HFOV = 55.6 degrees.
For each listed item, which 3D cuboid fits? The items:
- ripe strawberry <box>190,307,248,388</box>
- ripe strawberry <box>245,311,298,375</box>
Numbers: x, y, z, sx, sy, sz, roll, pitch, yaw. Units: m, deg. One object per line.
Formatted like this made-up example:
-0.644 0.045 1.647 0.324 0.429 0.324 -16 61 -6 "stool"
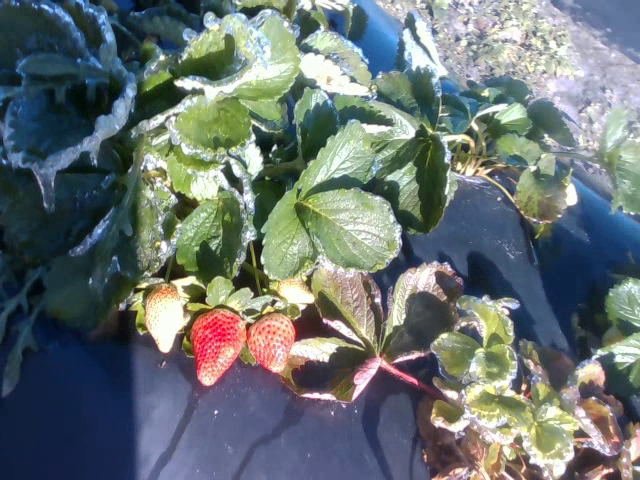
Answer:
-0.065 0.071 0.379 0.036 0.040 0.052 3 44 2 "ripe strawberry"
-0.029 0.068 0.395 0.036 0.041 0.030 -21 -15 -1 "ripe strawberry"
